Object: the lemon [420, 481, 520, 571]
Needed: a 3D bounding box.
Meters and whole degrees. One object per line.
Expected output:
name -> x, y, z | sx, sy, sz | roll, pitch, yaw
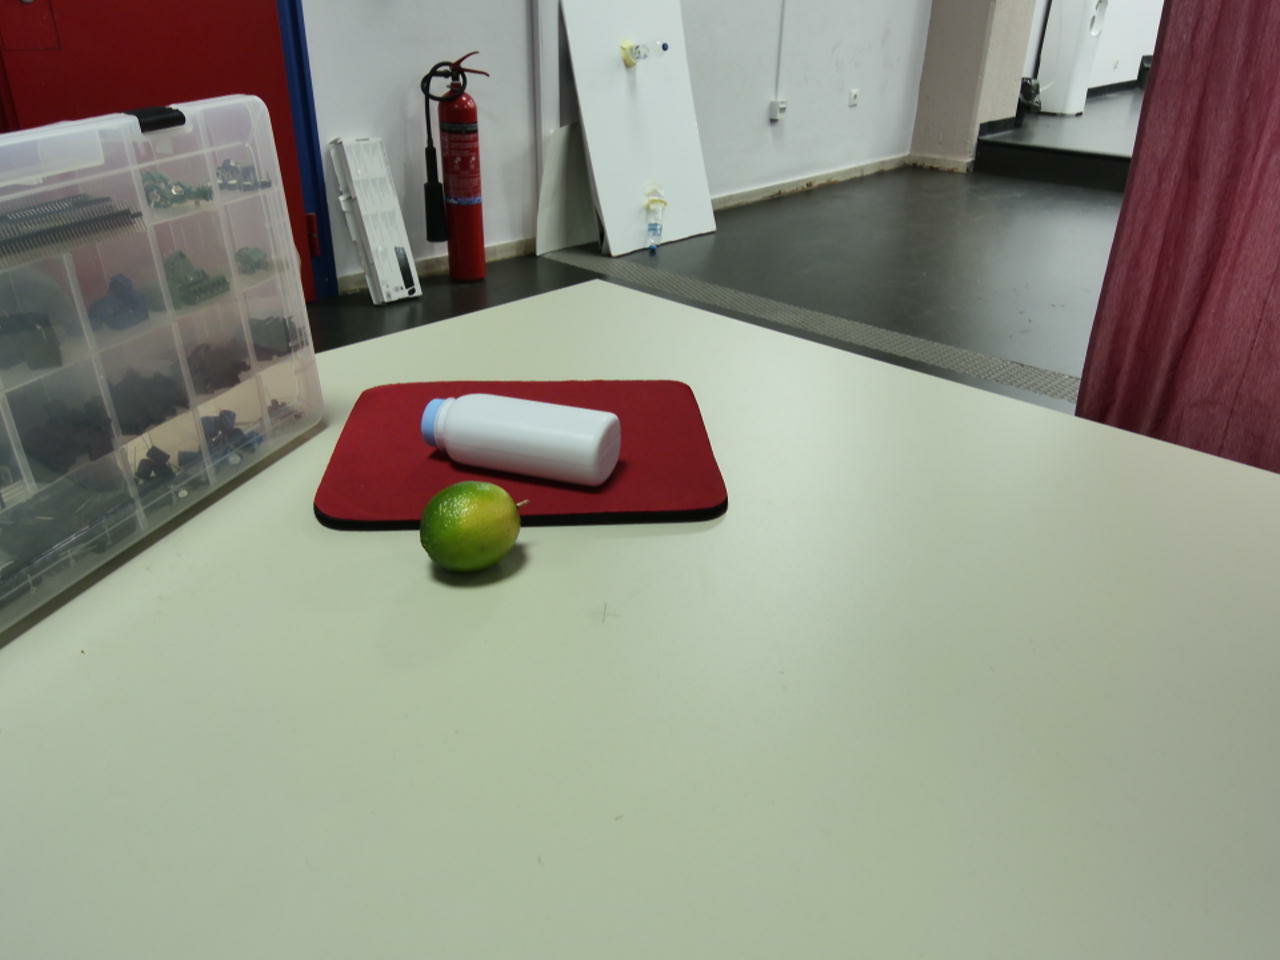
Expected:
lemon -> -0.096, 0.026, 0.566 | 0.055, 0.050, 0.054 | 2, 25, 2
